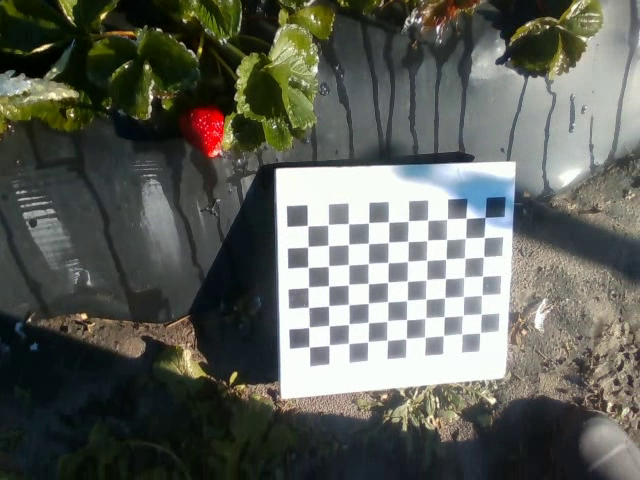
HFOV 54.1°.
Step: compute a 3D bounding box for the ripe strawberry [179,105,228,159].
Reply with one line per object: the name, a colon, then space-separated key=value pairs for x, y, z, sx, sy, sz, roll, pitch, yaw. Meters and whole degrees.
ripe strawberry: x=-0.095 y=-0.088 z=0.516 sx=0.041 sy=0.053 sz=0.047 roll=-9 pitch=-26 yaw=-10
